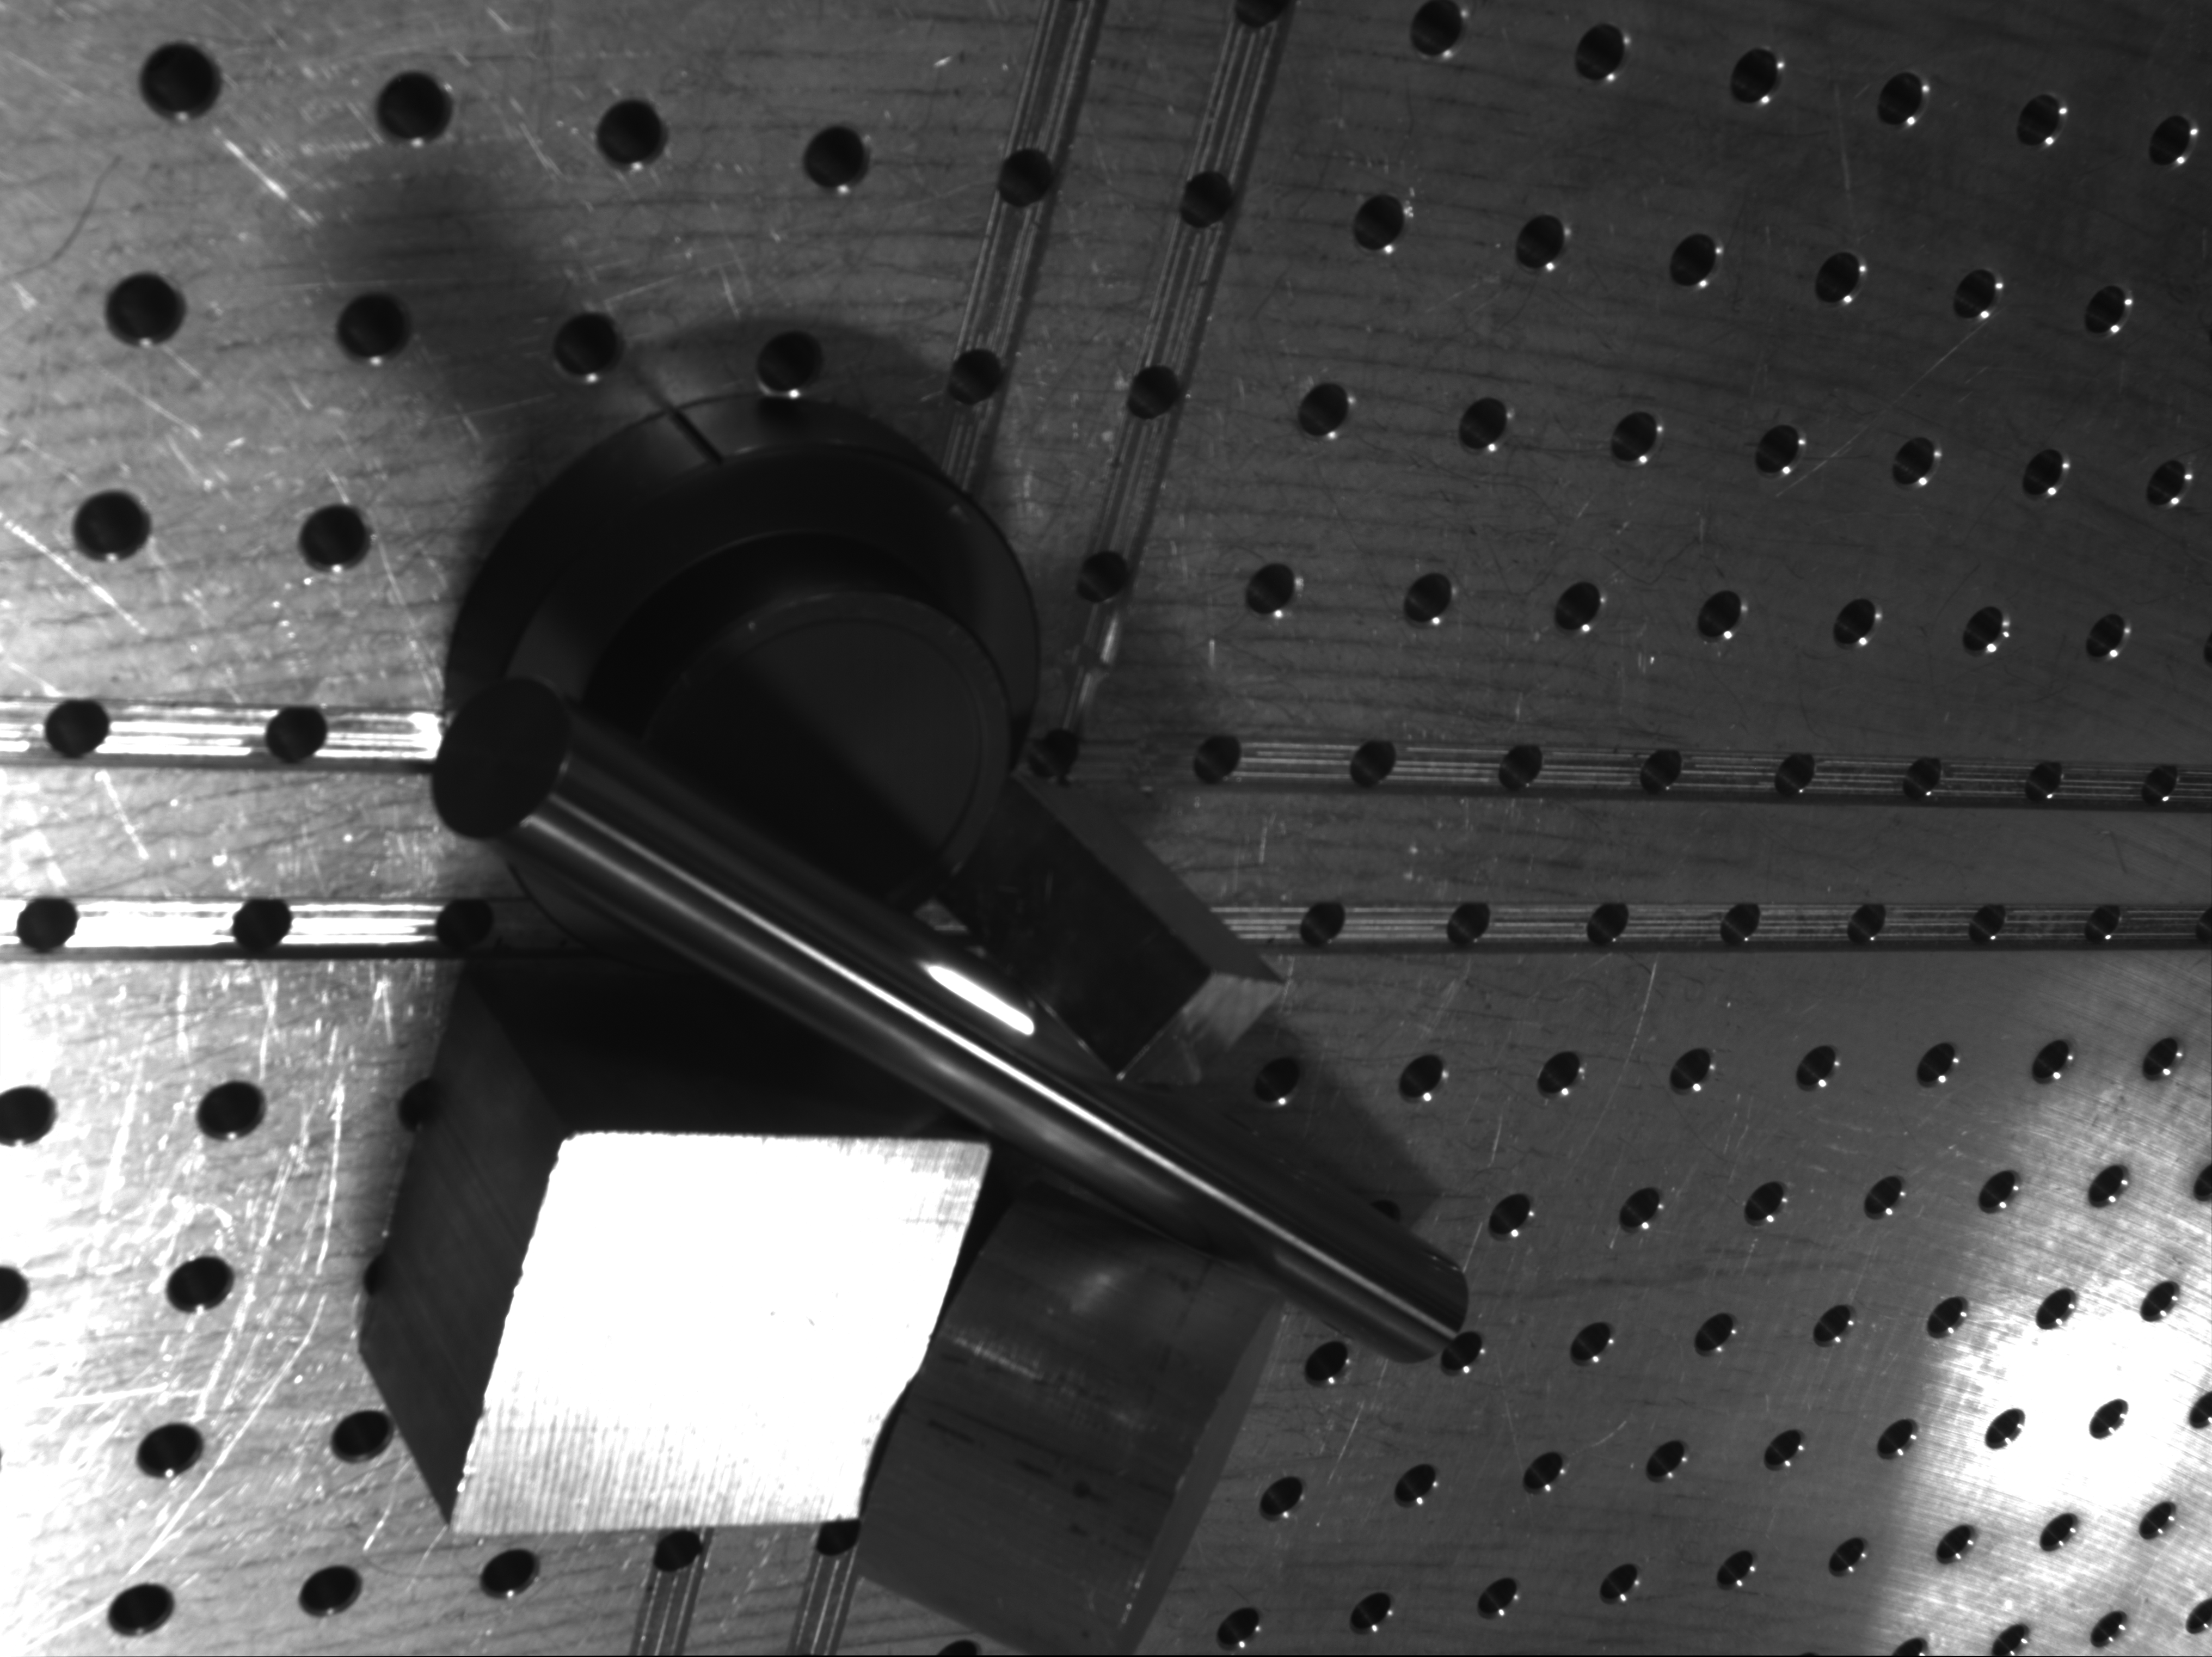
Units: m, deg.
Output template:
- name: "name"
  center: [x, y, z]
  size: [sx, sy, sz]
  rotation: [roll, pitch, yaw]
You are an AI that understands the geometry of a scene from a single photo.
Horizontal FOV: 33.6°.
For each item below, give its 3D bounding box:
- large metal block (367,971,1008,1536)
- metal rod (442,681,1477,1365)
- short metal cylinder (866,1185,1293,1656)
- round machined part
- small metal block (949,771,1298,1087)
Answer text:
- name: "large metal block"
  center: [-0.074, 0.074, 0.637]
  size: [0.080, 0.050, 0.080]
  rotation: [5, 116, -32]
- name: "metal rod"
  center: [-0.009, 0.044, 0.634]
  size: [0.025, 0.025, 0.301]
  rotation: [-48, 143, 4]
- name: "short metal cylinder"
  center: [-0.004, 0.113, 0.677]
  size: [0.080, 0.050, 0.080]
  rotation: [23, 90, -81]
- name: "round machined part"
  center: [-0.053, -0.017, 0.601]
  size: [0.098, 0.042, 0.098]
  rotation: [-15, 125, -22]
- name: "small metal block"
  center: [0.002, 0.018, 0.637]
  size: [0.025, 0.050, 0.050]
  rotation: [-48, 165, 8]
